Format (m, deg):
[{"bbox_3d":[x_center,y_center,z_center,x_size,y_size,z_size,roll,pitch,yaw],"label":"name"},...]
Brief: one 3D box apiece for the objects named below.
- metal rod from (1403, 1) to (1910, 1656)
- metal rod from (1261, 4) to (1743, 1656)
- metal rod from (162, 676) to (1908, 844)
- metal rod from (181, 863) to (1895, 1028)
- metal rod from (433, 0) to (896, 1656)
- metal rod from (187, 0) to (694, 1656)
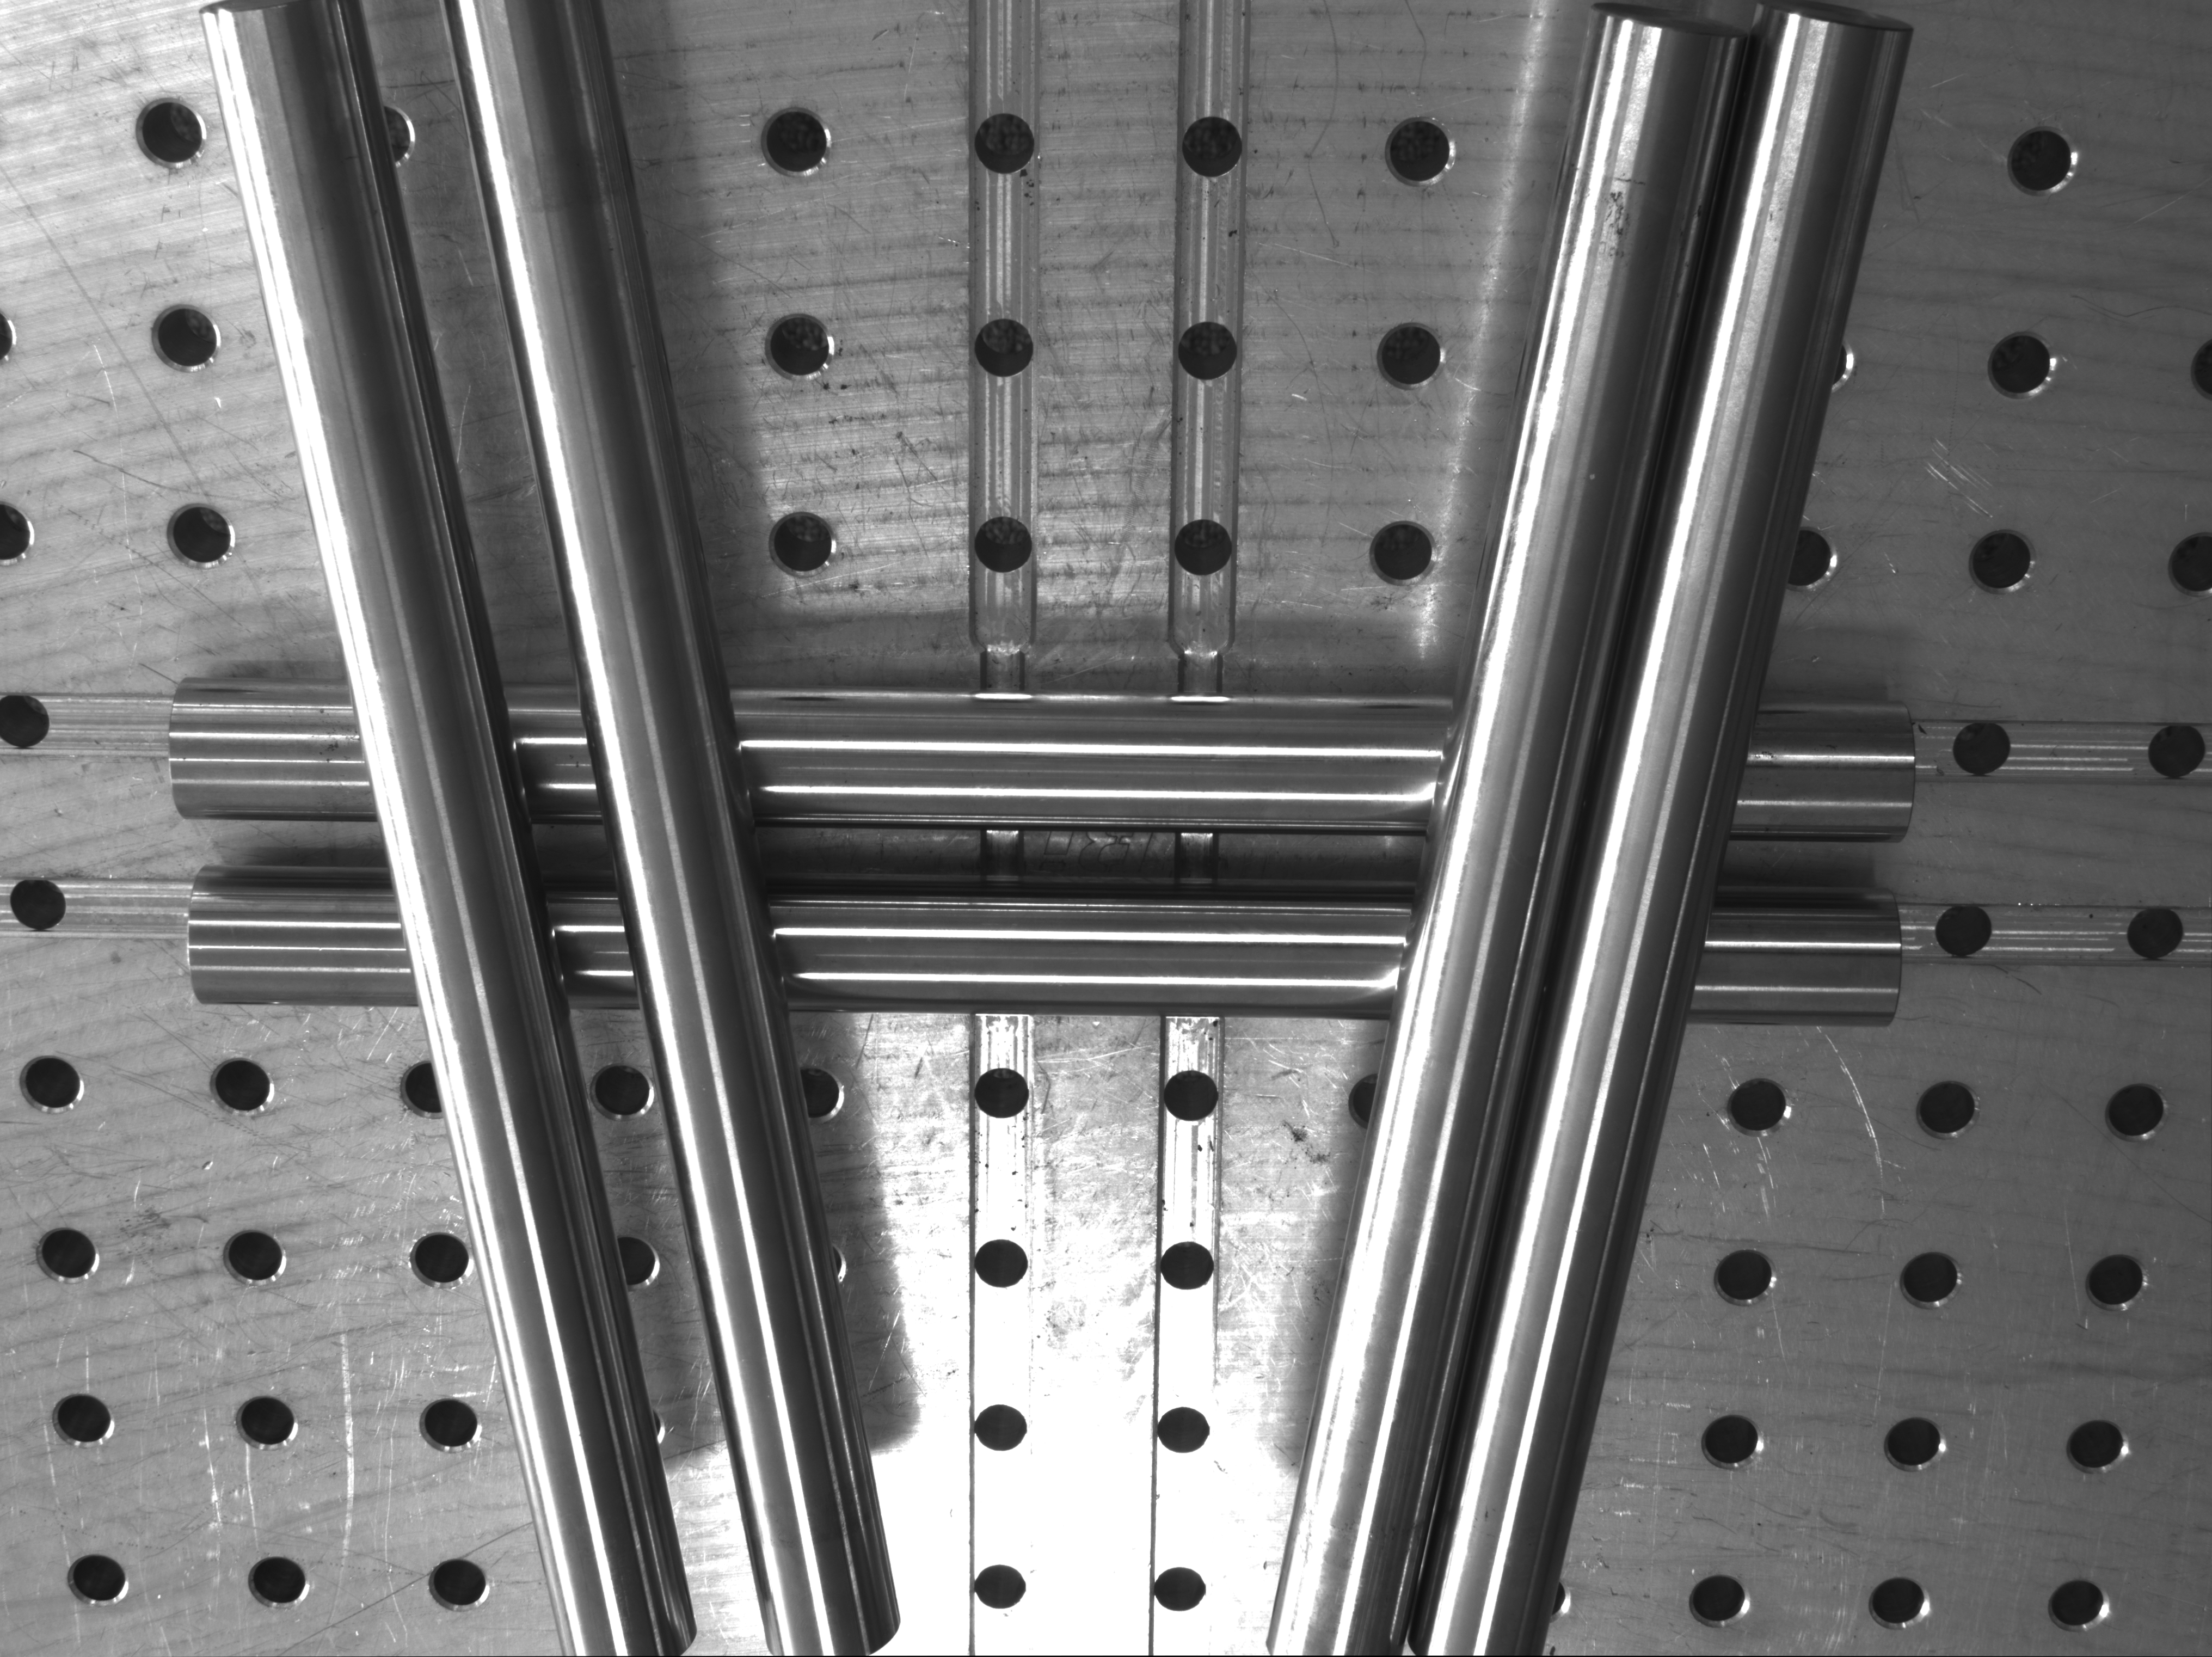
[{"bbox_3d":[0.090,0.012,0.625,0.025,0.025,0.300,8,110,-3],"label":"metal rod"},{"bbox_3d":[0.064,0.013,0.626,0.025,0.025,0.300,8,110,-3],"label":"metal rod"},{"bbox_3d":[-0.012,-0.012,0.643,0.300,0.025,0.025,1,110,0],"label":"metal rod"},{"bbox_3d":[-0.012,0.021,0.655,0.300,0.025,0.025,1,110,0],"label":"metal rod"},{"bbox_3d":[-0.072,0.007,0.623,0.025,0.025,0.300,-7,110,3],"label":"metal rod"},{"bbox_3d":[-0.110,0.010,0.624,0.025,0.025,0.300,-8,110,3],"label":"metal rod"}]
